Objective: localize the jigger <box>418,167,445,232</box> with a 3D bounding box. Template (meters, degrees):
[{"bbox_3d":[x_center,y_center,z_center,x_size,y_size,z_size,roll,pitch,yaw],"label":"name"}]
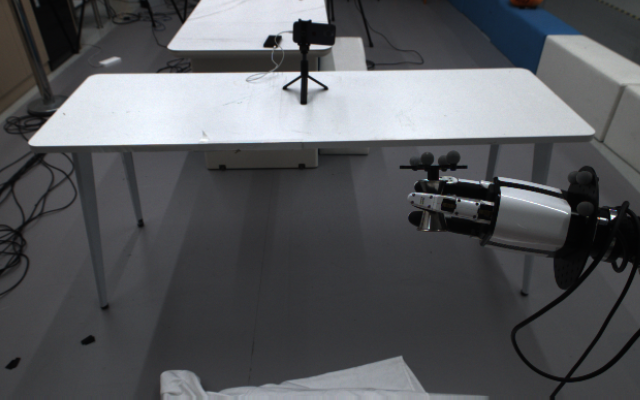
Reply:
[{"bbox_3d":[0.153,0.006,0.657,0.043,0.071,0.043,-1,2,0],"label":"jigger"}]
